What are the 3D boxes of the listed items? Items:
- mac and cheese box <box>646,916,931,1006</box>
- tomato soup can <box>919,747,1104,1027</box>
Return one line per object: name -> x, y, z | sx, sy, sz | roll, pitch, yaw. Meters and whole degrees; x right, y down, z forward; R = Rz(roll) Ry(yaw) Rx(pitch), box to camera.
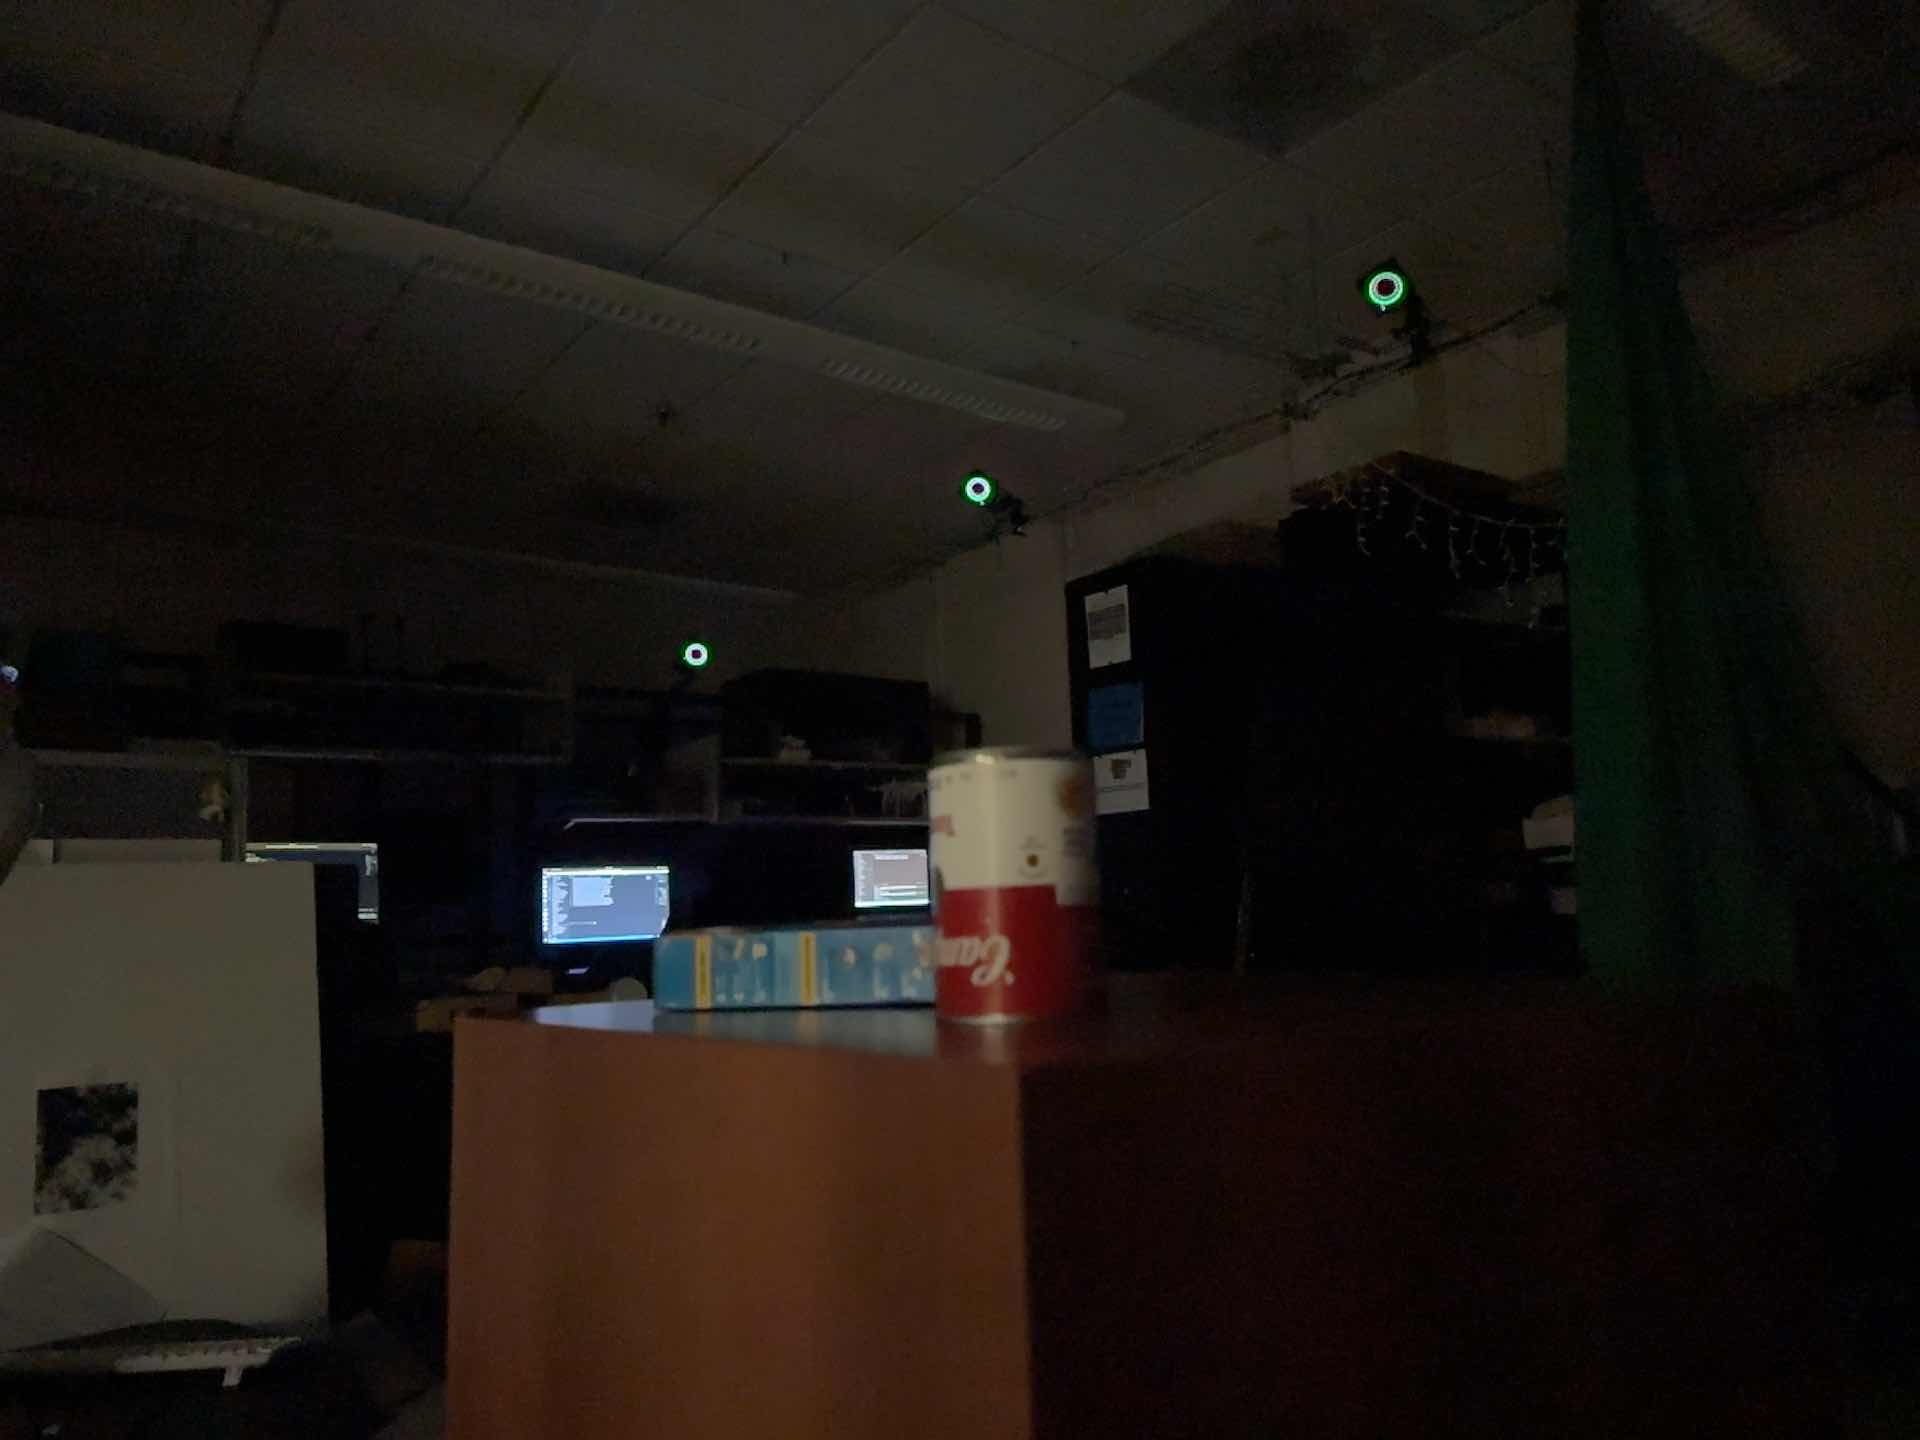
mac and cheese box -> -0.049, 0.118, 0.660 | 0.181, 0.035, 0.088 | -4, -5, 17
tomato soup can -> 0.019, 0.063, 0.522 | 0.067, 0.102, 0.067 | -3, -6, 0
